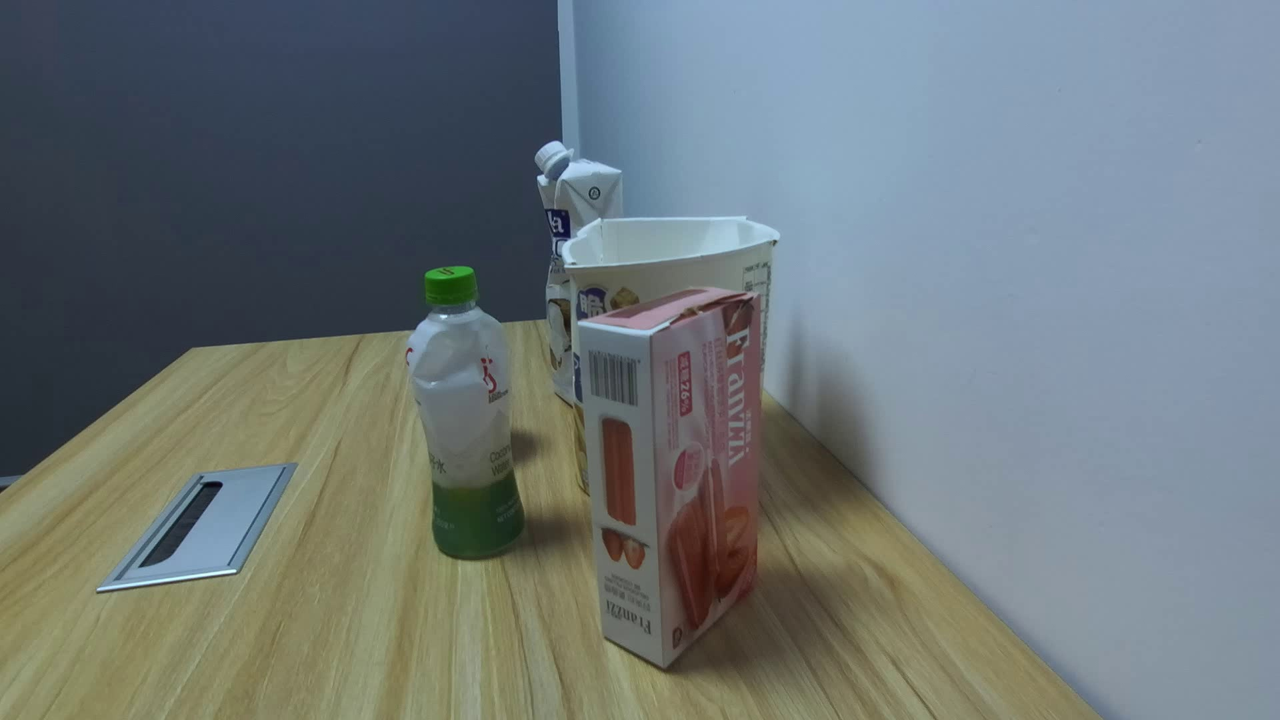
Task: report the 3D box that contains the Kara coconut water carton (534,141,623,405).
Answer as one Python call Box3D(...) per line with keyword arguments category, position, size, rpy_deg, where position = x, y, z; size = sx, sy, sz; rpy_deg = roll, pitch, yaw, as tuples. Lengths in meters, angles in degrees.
Box3D(category="Kara coconut water carton", position=(-0.054, -0.080, 0.688), size=(0.078, 0.255, 0.083), rpy_deg=(-8, 17, -14))

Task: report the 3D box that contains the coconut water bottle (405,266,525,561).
Box3D(category="coconut water bottle", position=(-0.115, 0.035, 0.465), size=(0.069, 0.186, 0.069), rpy_deg=(-3, 20, 1))

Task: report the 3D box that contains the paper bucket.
Box3D(category="paper bucket", position=(0.022, -0.004, 0.549), size=(0.146, 0.197, 0.202), rpy_deg=(-1, 20, 0))

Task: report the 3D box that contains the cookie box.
Box3D(category="cookie box", position=(0.024, 0.057, 0.386), size=(0.048, 0.187, 0.105), rpy_deg=(13, 24, 37))
